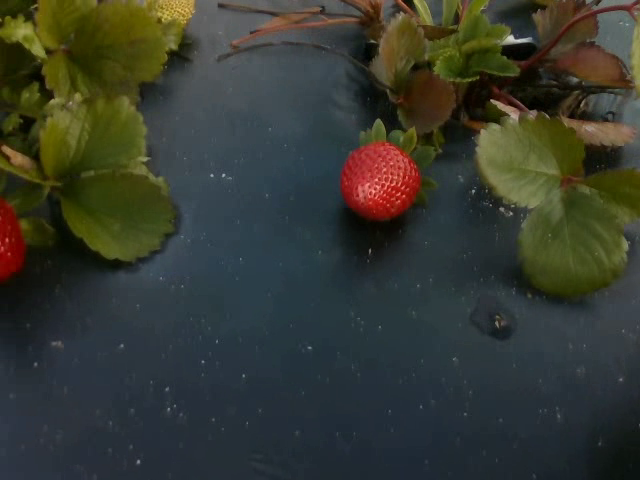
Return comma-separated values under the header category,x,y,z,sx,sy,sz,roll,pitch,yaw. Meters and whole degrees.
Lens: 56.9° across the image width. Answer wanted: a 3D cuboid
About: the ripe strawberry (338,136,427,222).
category,x,y,z,sx,sy,sz,roll,pitch,yaw
ripe strawberry,0.022,-0.020,0.238,0.041,0.044,0.052,-38,6,32
